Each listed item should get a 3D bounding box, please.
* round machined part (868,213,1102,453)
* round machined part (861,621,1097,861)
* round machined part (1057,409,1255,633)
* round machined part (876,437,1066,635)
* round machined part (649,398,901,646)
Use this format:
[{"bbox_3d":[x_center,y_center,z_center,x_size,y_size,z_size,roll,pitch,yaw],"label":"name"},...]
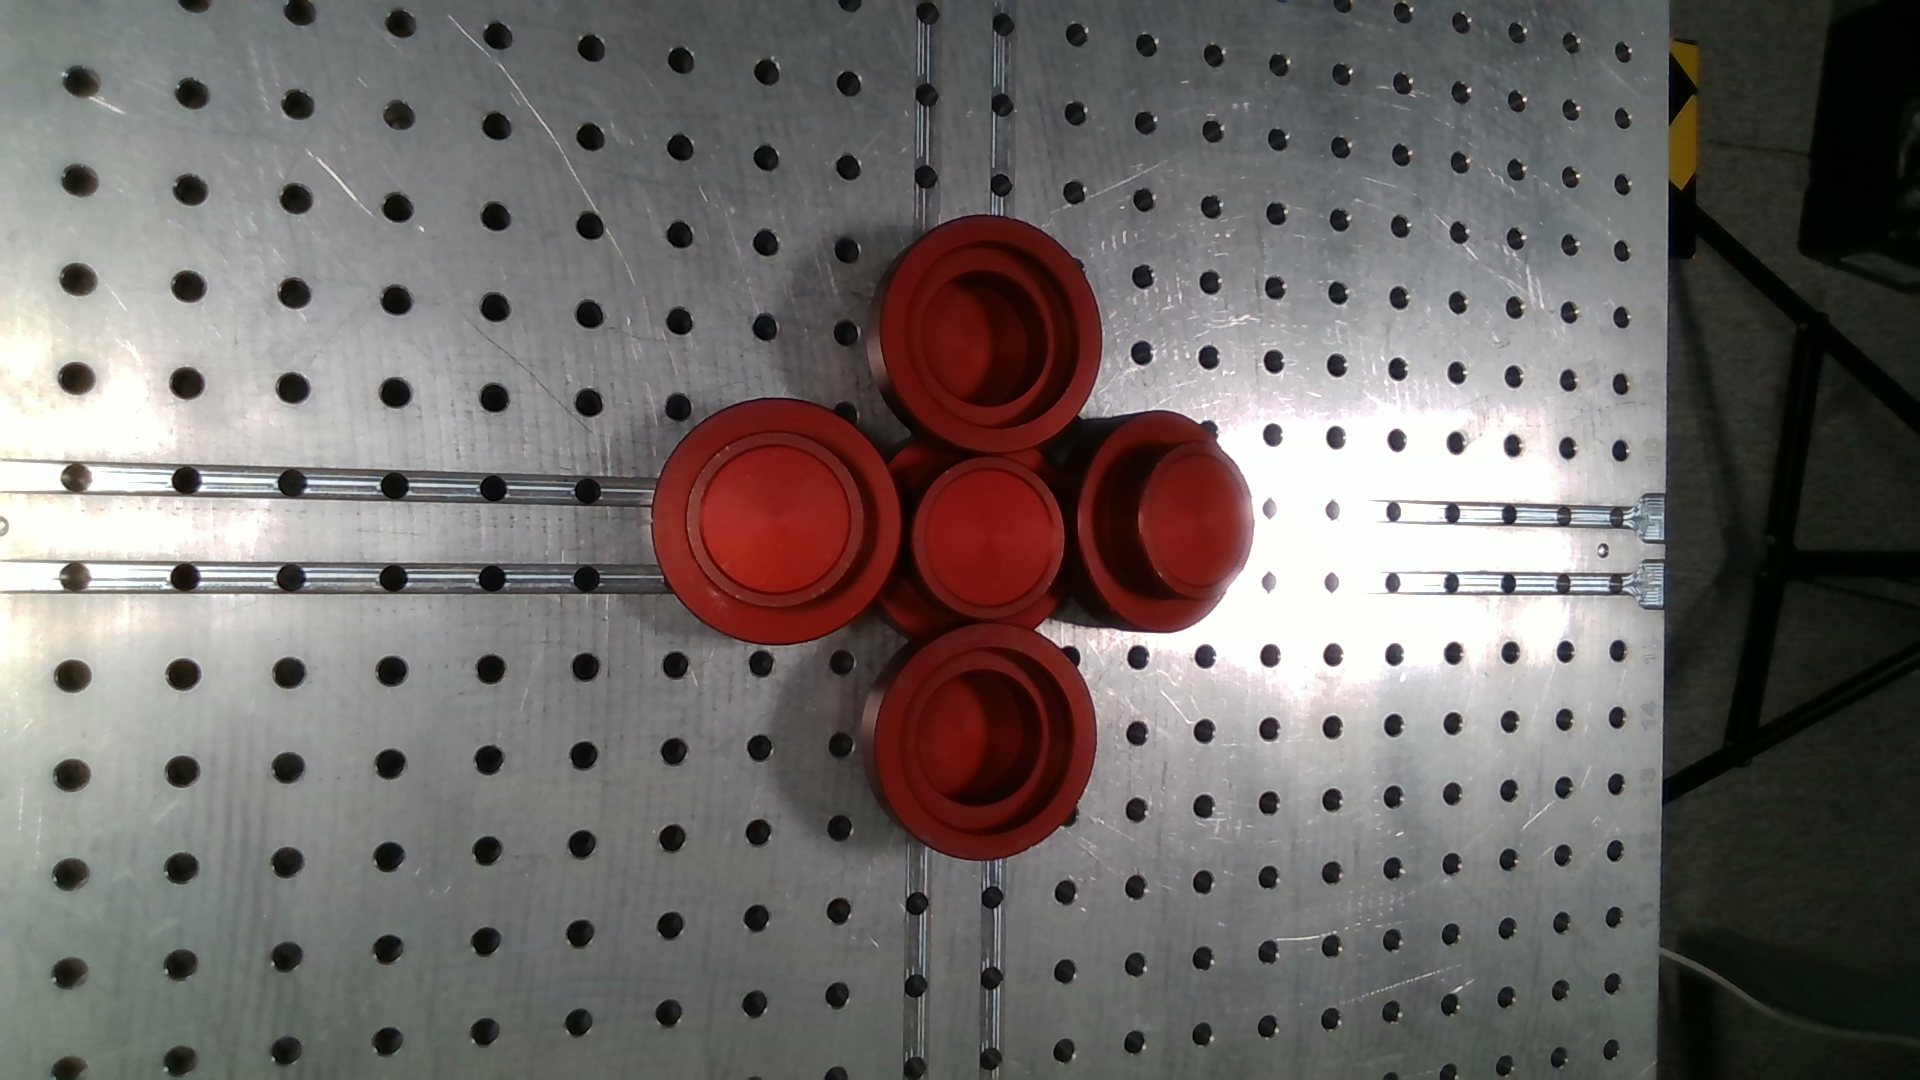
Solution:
[{"bbox_3d":[0.007,-0.084,0.581,0.098,0.042,0.098,0,90,-20],"label":"round machined part"},{"bbox_3d":[0.005,0.082,0.581,0.098,0.042,0.098,0,90,-20],"label":"round machined part"},{"bbox_3d":[0.090,-0.008,0.600,0.098,0.042,0.098,1,88,-35],"label":"round machined part"},{"bbox_3d":[0.005,-0.002,0.580,0.098,0.042,0.098,0,90,-20],"label":"round machined part"},{"bbox_3d":[-0.072,-0.007,0.540,0.098,0.042,0.098,0,90,-6],"label":"round machined part"}]
